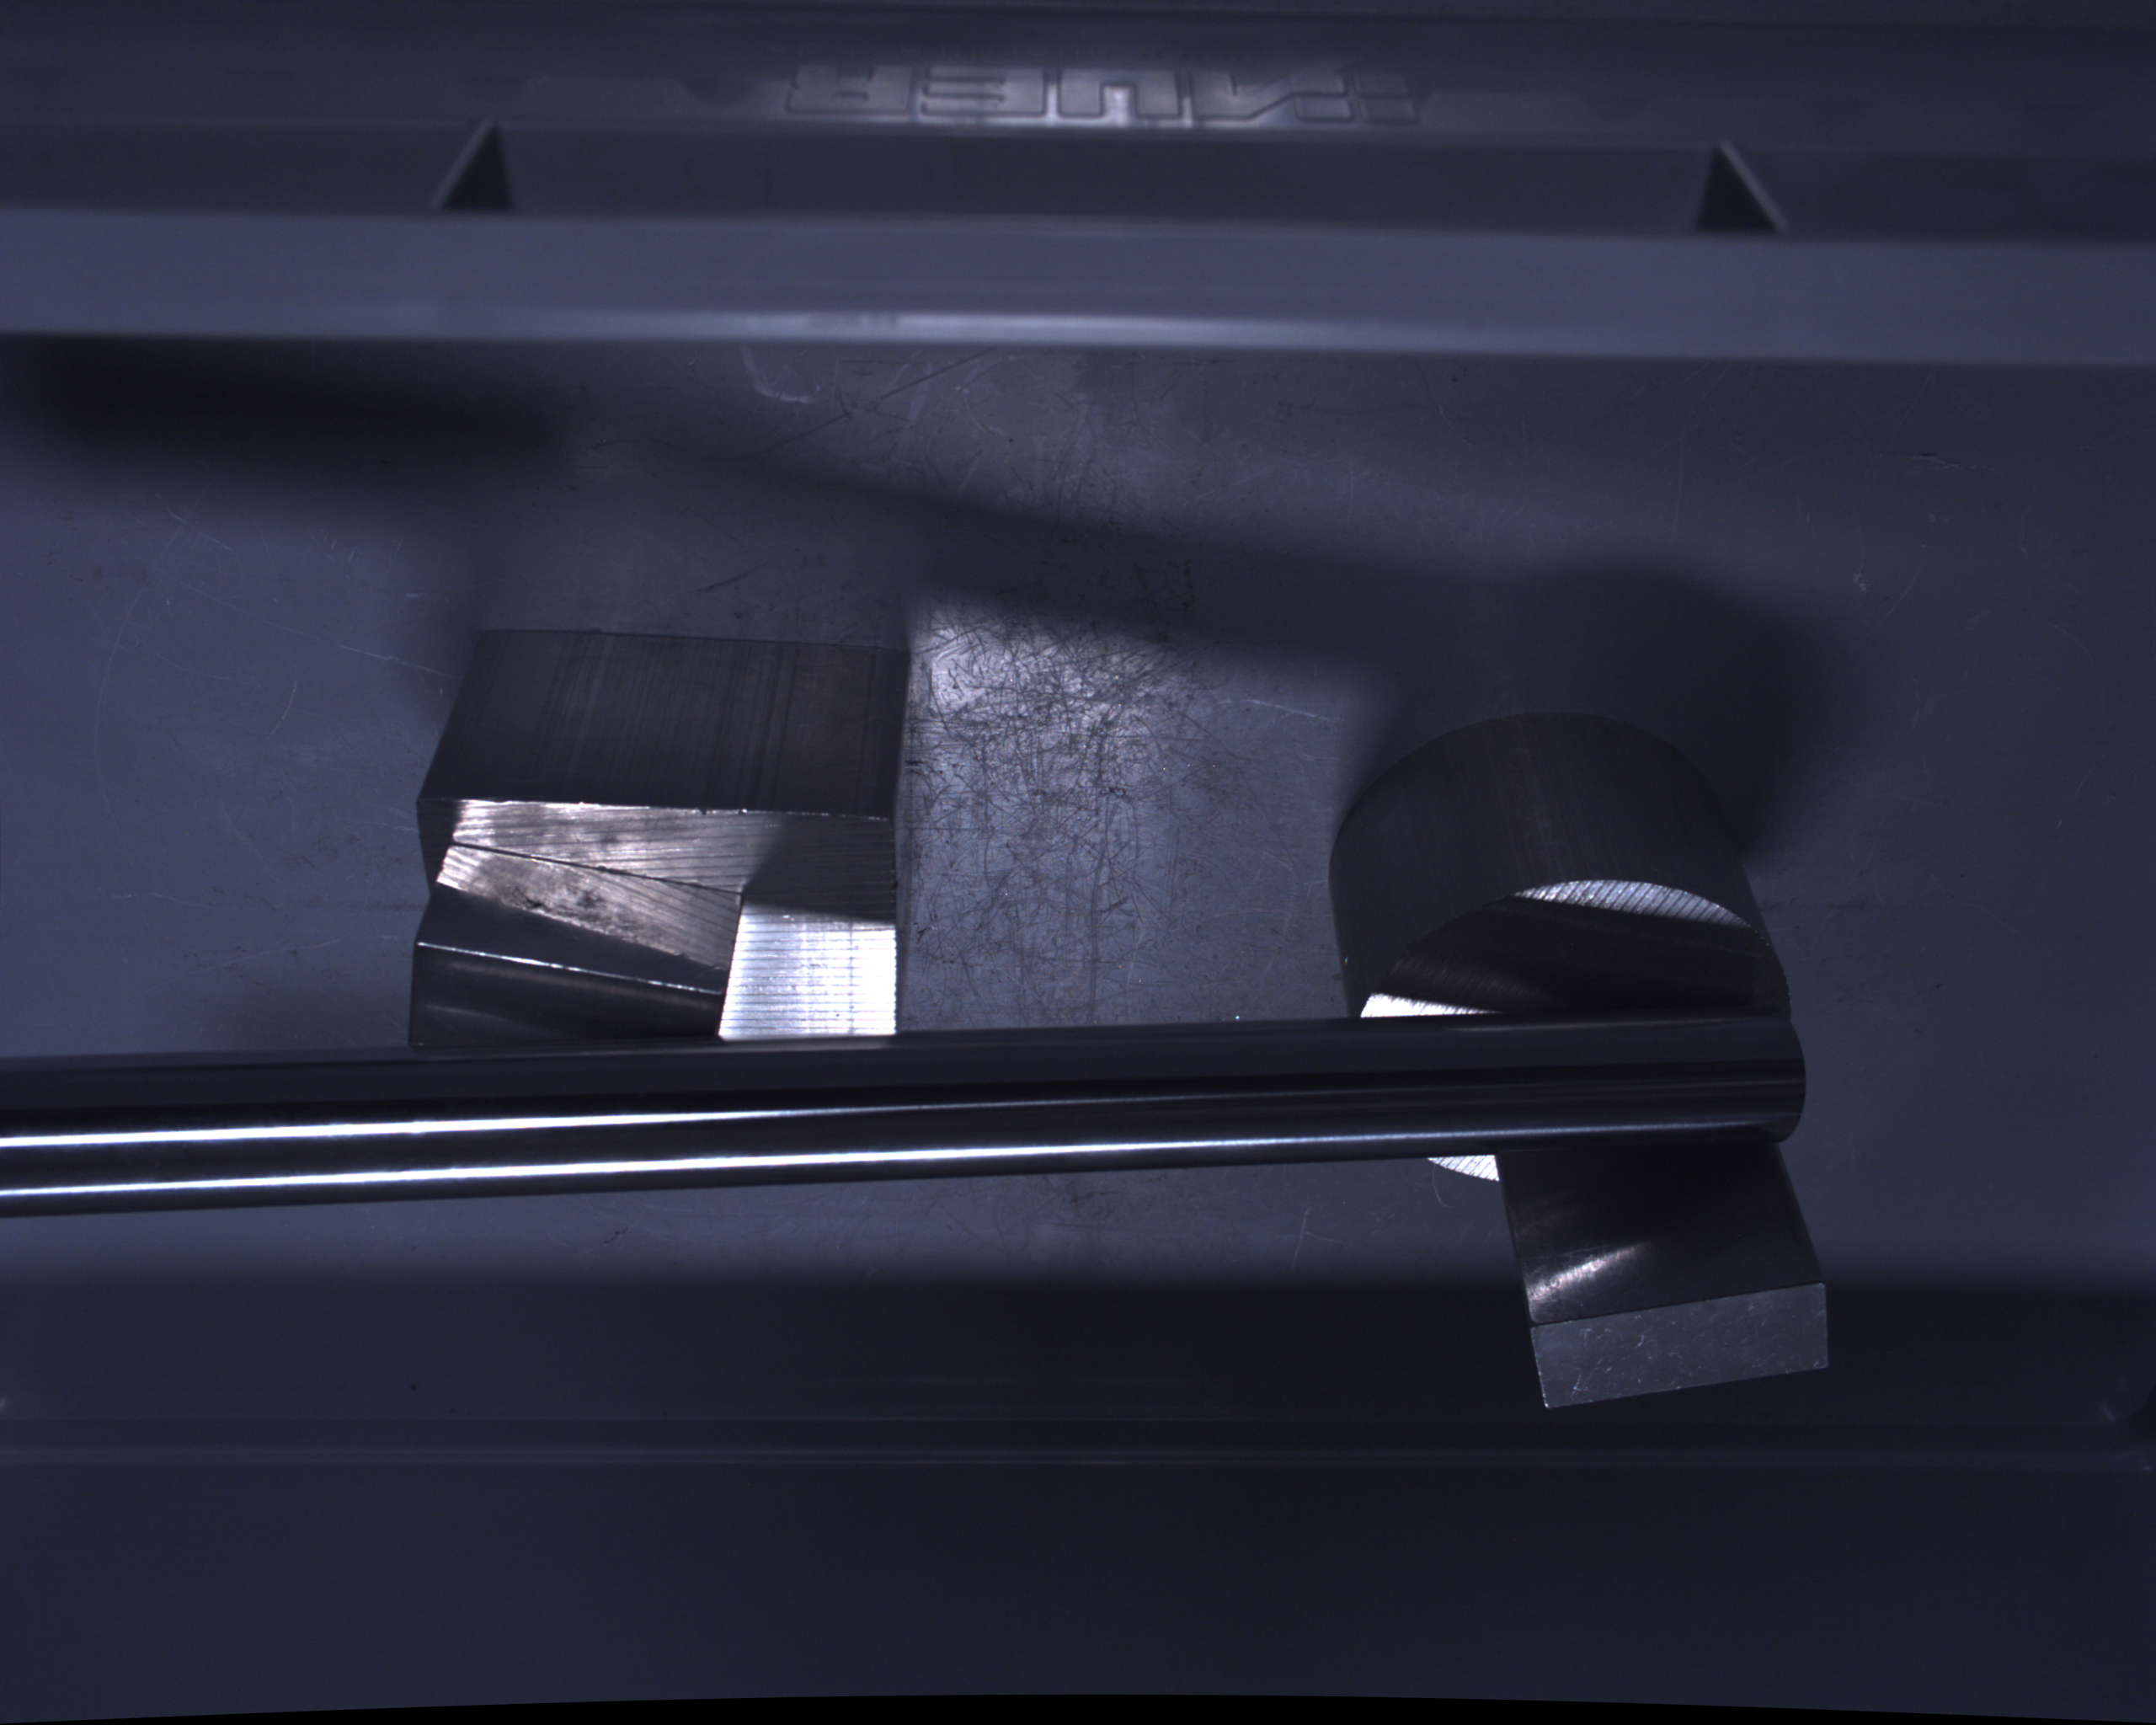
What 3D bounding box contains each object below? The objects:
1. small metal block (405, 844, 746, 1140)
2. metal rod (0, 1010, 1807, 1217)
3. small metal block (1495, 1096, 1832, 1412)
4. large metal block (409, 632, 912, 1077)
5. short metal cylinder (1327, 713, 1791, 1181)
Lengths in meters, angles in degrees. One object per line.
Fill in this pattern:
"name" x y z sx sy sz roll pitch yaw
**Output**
"small metal block" -0.088 0.028 0.363 0.050 0.025 0.050 10 129 -9
"metal rod" -0.024 0.041 0.349 0.302 0.025 0.025 -1 131 -10
"small metal block" 0.106 0.069 0.384 0.050 0.050 0.025 -11 129 9
"large metal block" -0.073 0.005 0.392 0.081 0.050 0.079 2 130 -2
"short metal cylinder" 0.091 0.018 0.407 0.081 0.050 0.079 0 130 0
